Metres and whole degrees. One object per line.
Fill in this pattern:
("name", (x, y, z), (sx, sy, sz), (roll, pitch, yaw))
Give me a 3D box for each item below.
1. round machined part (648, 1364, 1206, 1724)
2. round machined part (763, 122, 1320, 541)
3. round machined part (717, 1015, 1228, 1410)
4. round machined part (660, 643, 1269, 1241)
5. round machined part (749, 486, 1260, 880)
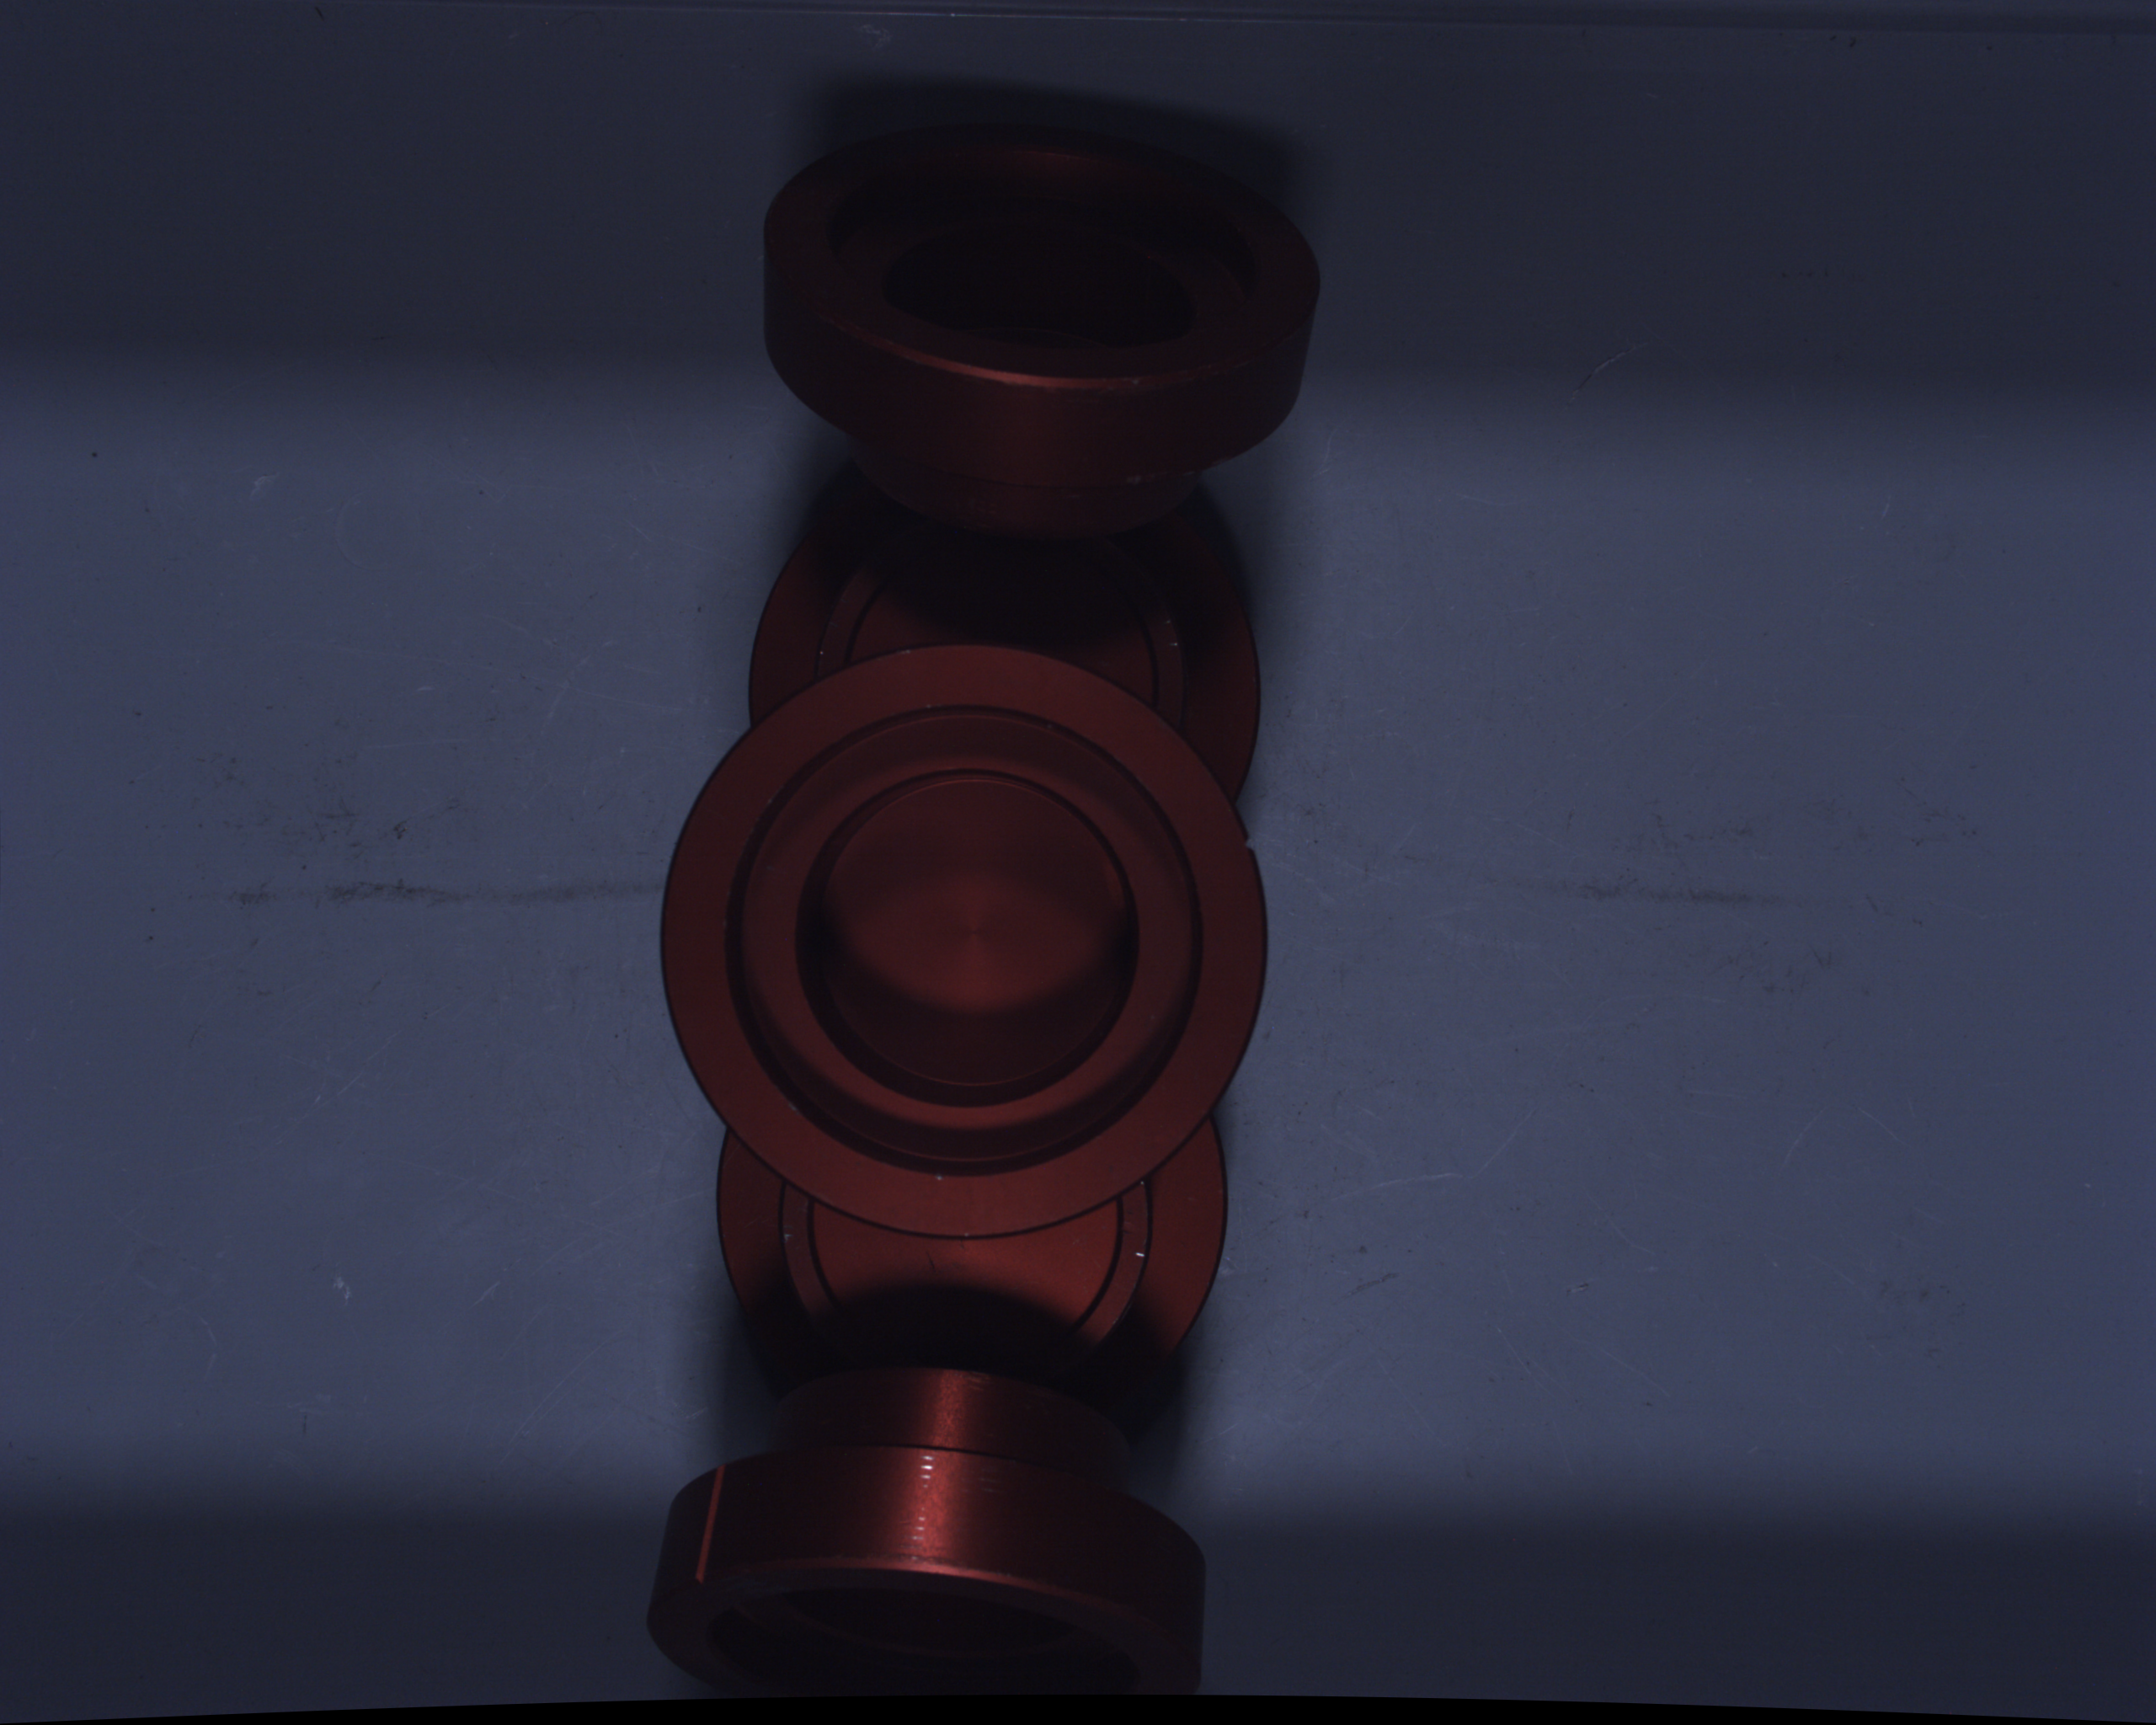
("round machined part", (-0.026, 0.126, 0.383), (0.099, 0.097, 0.042), (6, 53, -1))
("round machined part", (-0.008, -0.095, 0.383), (0.099, 0.098, 0.042), (7, 132, -1))
("round machined part", (-0.020, 0.065, 0.401), (0.099, 0.042, 0.097), (0, 90, -1))
("round machined part", (-0.018, 0.013, 0.358), (0.099, 0.042, 0.097), (0, 90, -1))
("round machined part", (-0.014, -0.033, 0.401), (0.099, 0.042, 0.097), (0, 90, -1))
